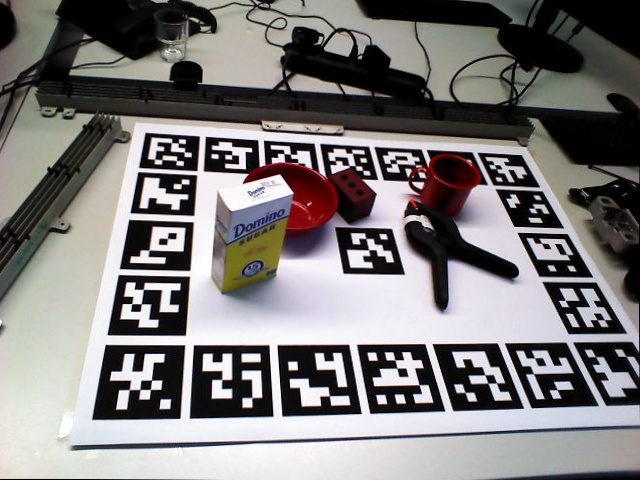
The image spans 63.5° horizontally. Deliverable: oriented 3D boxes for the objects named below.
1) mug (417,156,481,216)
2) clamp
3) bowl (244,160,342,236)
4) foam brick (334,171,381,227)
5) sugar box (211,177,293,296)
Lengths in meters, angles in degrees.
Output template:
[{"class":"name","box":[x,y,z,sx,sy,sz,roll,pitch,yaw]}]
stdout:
[{"class":"mug","box":[0.230,-0.102,0.925,0.117,0.082,0.092,23,48,4]},{"class":"clamp","box":[0.209,0.005,0.851,0.165,0.037,0.202,-19,56,-23]},{"class":"bowl","box":[-0.048,-0.059,0.850,0.162,0.055,0.160,6,48,-7]},{"class":"foam brick","box":[0.062,-0.072,0.895,0.052,0.051,0.078,-22,58,-27]},{"class":"sugar box","box":[-0.097,0.000,0.707,0.092,0.177,0.045,-19,57,-27]}]
